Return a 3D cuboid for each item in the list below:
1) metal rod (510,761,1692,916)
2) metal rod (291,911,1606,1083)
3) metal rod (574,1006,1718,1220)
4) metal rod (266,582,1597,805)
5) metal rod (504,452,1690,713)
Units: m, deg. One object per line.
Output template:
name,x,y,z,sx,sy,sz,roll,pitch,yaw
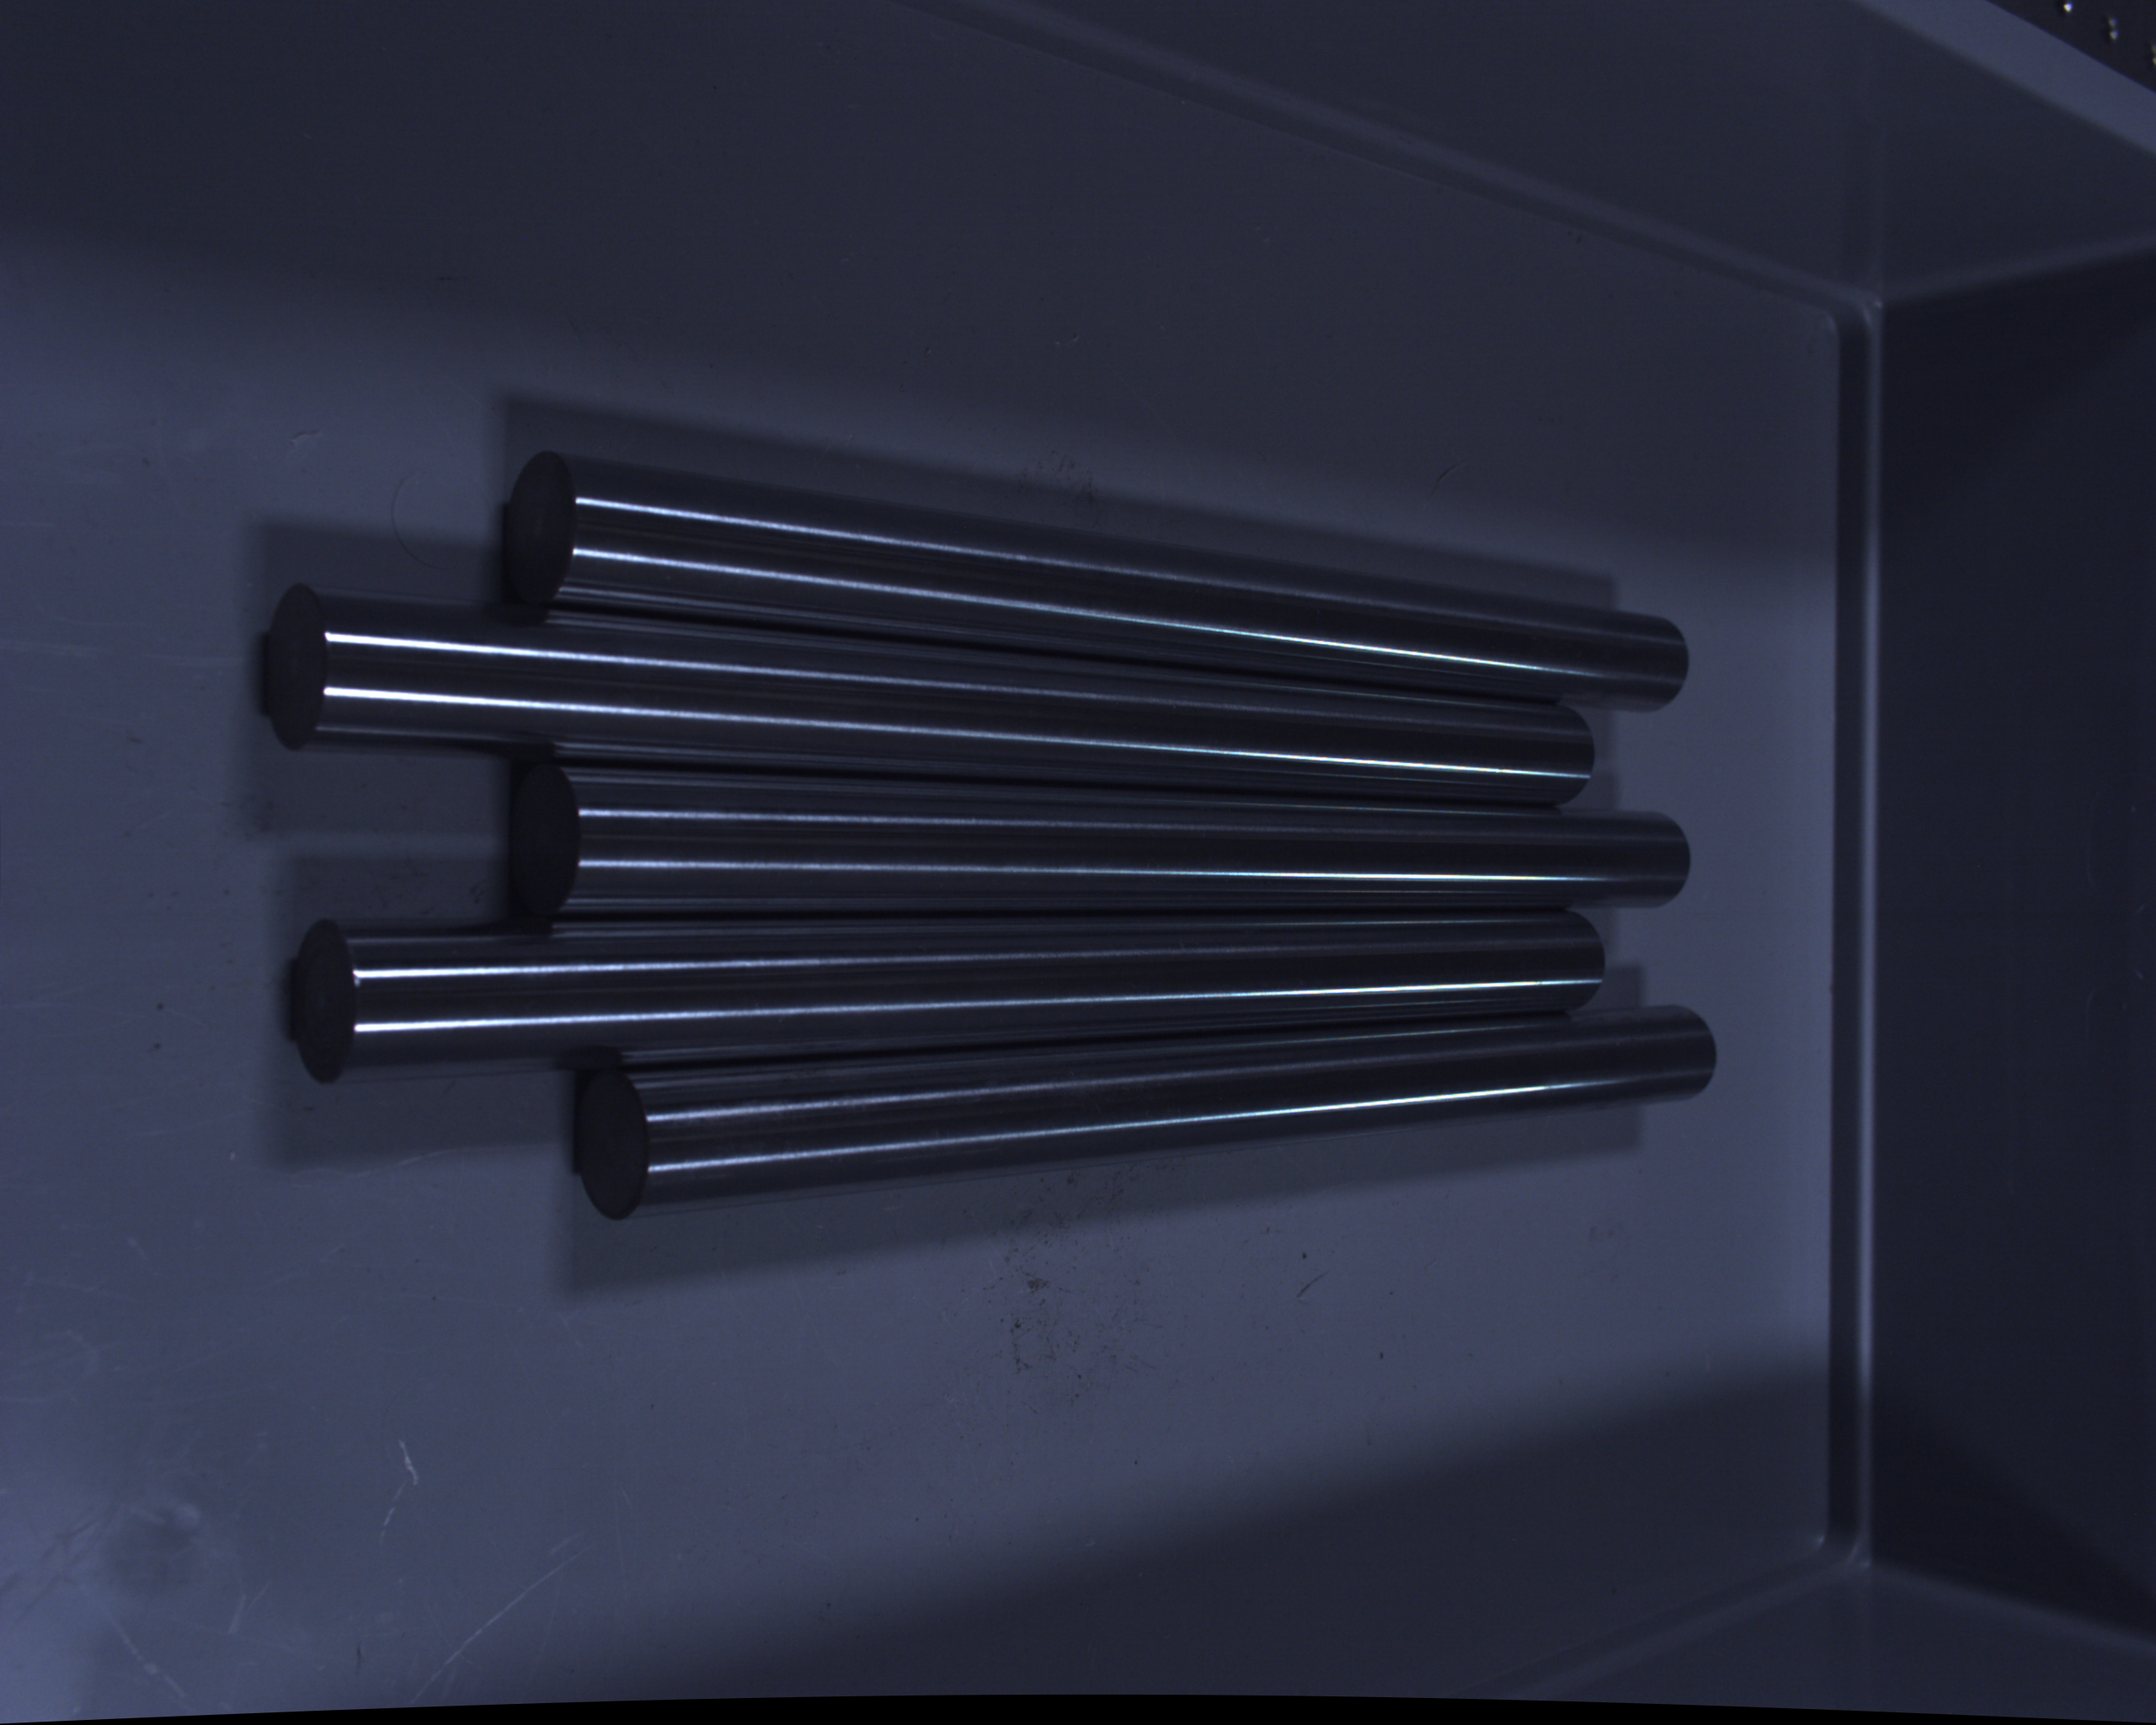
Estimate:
metal rod,0.030,-0.002,0.432,0.302,0.025,0.025,1,90,-40
metal rod,0.002,0.022,0.409,0.302,0.025,0.025,1,90,-40
metal rod,0.039,0.048,0.440,0.302,0.025,0.025,1,90,-40
metal rod,0.000,-0.027,0.406,0.302,0.025,0.025,1,90,-40
metal rod,0.029,-0.052,0.431,0.302,0.025,0.025,1,90,-40
